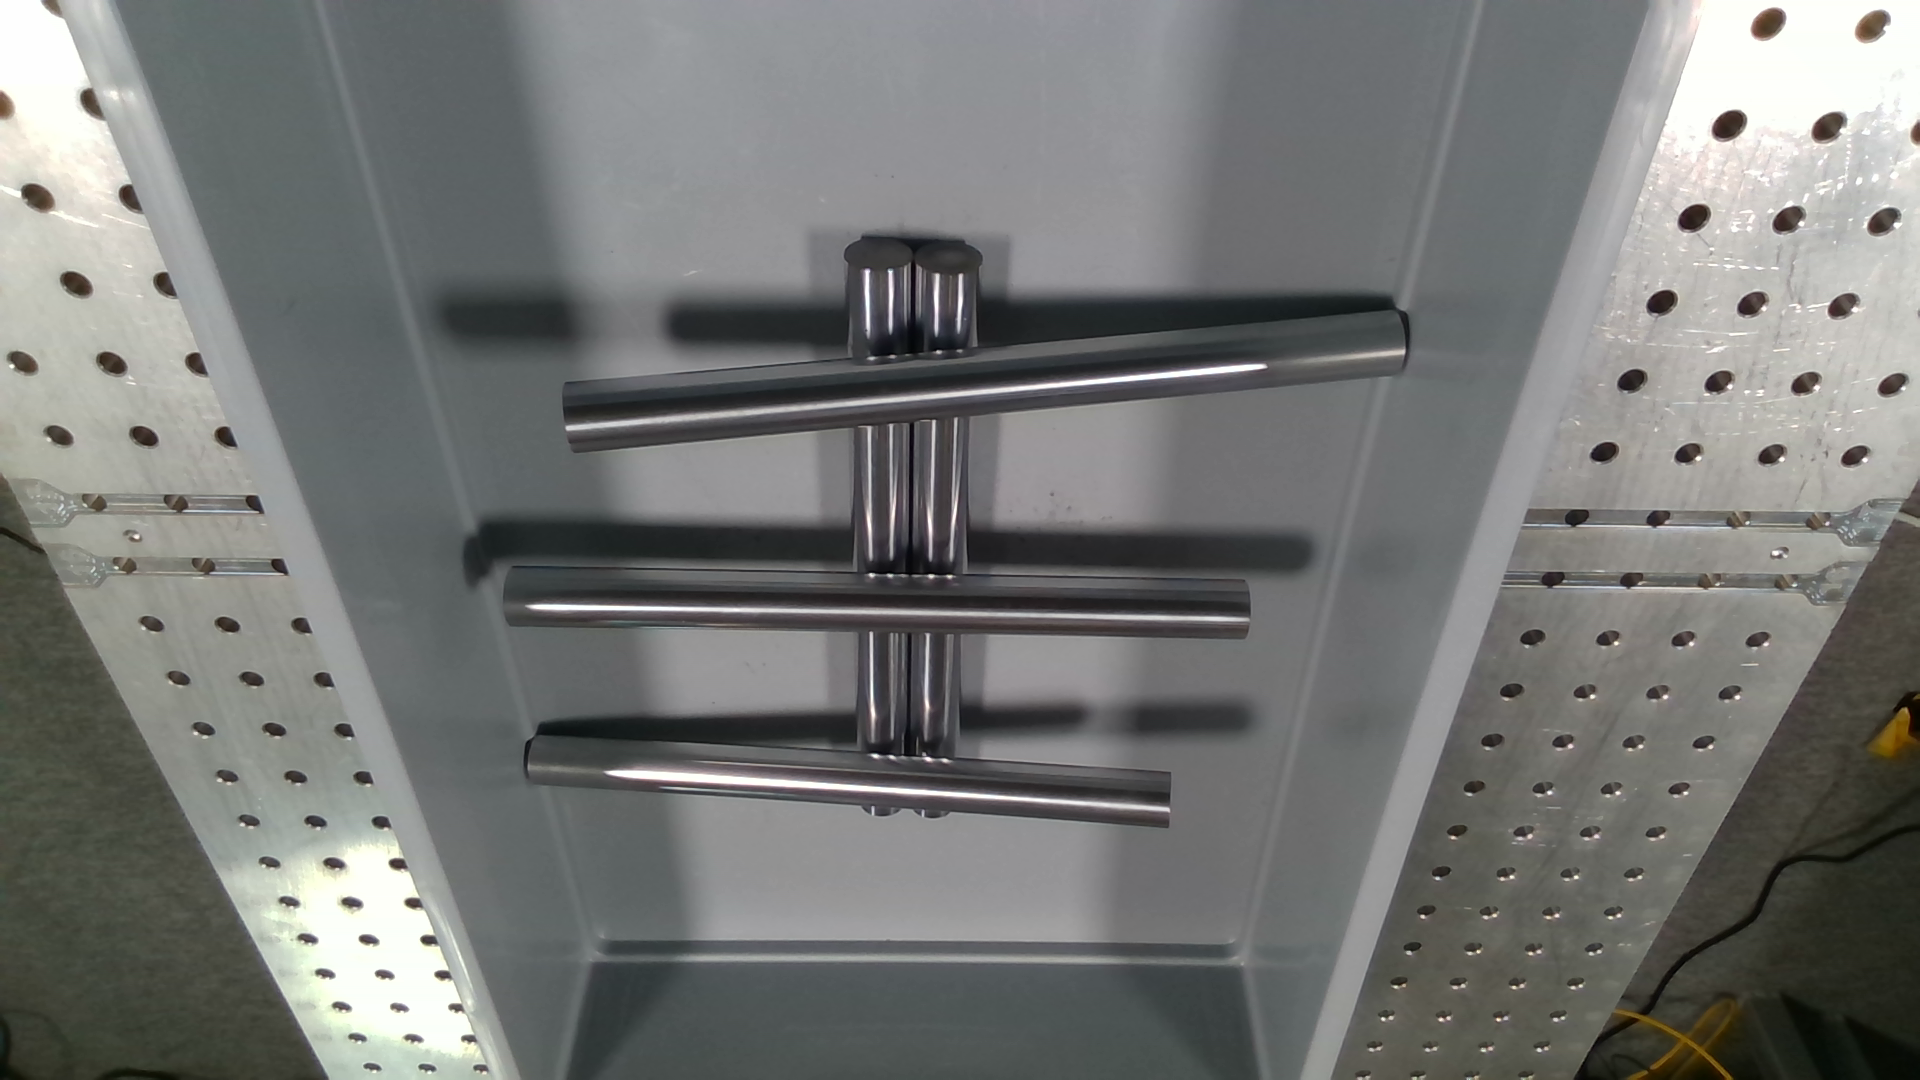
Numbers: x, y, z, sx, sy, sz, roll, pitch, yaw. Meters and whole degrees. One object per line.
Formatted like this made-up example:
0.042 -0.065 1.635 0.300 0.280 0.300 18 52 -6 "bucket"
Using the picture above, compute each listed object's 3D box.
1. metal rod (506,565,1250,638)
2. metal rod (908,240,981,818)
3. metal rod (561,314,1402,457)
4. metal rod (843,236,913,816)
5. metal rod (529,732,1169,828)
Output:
-0.033 0.026 0.567 0.300 0.025 0.025 1 130 -1 "metal rod"
-0.009 0.013 0.590 0.025 0.025 0.301 1 130 -1 "metal rod"
0.011 -0.057 0.499 0.300 0.025 0.025 -6 130 -6 "metal rod"
-0.034 0.012 0.589 0.025 0.025 0.301 1 130 -1 "metal rod"
-0.055 0.111 0.642 0.300 0.025 0.025 2 130 9 "metal rod"
